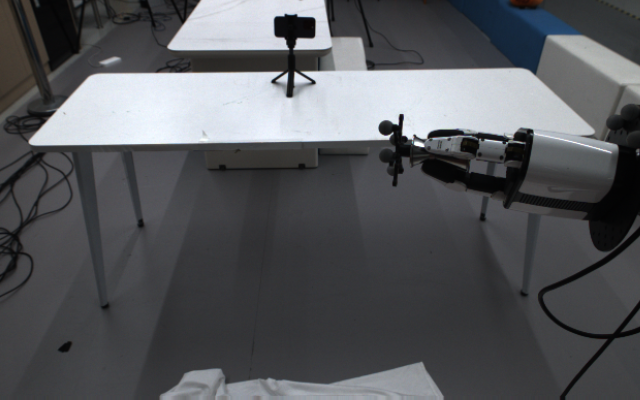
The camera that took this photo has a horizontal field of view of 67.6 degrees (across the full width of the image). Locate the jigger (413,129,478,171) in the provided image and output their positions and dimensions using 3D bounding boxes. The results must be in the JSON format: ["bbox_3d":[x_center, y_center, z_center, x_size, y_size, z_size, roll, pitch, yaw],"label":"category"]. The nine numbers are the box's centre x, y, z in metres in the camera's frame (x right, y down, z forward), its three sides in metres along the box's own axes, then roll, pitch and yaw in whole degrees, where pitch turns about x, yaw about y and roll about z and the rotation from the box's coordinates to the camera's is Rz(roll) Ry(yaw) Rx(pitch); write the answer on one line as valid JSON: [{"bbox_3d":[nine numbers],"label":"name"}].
[{"bbox_3d":[0.152,-0.061,0.579,0.071,0.043,0.043,4,34,18],"label":"jigger"}]
